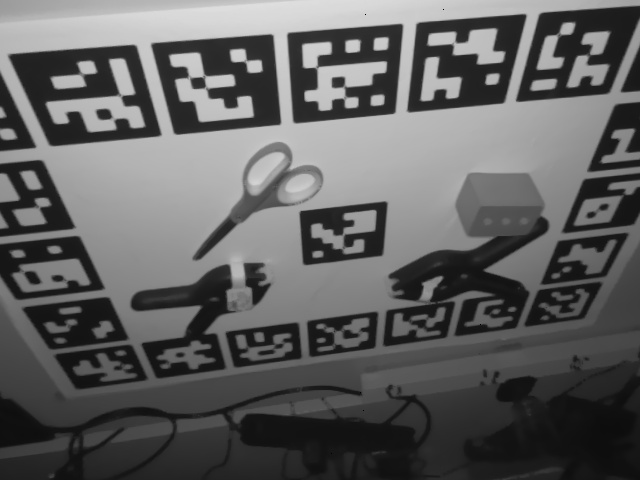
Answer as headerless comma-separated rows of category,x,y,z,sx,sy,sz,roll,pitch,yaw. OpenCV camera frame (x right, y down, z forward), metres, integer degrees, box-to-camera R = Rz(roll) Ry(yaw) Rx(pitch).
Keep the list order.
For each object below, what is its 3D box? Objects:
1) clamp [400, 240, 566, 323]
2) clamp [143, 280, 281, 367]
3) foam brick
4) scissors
clamp,0.205,0.069,0.900,0.203,0.037,0.164,-9,140,-2
clamp,-0.119,0.095,0.863,0.164,0.037,0.122,-26,128,14
foam brick,0.221,-0.022,0.799,0.079,0.051,0.052,-4,136,-14
scissors,-0.060,-0.012,0.766,0.088,0.016,0.199,29,126,-26
